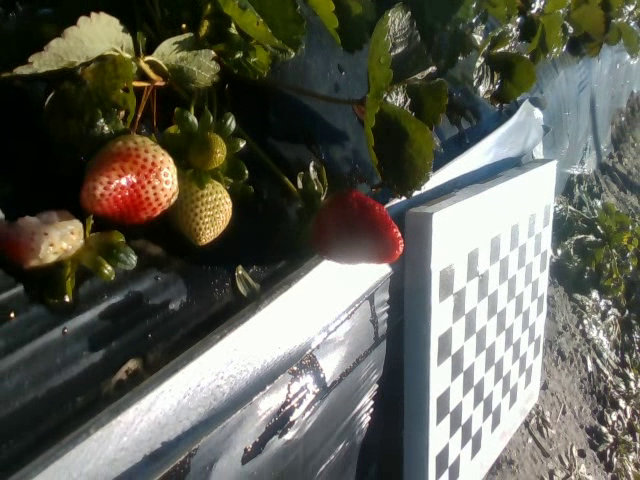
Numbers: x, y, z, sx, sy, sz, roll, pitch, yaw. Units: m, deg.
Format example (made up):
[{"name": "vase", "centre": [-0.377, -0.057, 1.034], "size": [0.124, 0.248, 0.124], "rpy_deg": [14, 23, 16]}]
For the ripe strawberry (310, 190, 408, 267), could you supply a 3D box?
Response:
[{"name": "ripe strawberry", "centre": [0.016, -0.002, 0.252], "size": [0.045, 0.038, 0.036], "rpy_deg": [26, 31, 32]}]
